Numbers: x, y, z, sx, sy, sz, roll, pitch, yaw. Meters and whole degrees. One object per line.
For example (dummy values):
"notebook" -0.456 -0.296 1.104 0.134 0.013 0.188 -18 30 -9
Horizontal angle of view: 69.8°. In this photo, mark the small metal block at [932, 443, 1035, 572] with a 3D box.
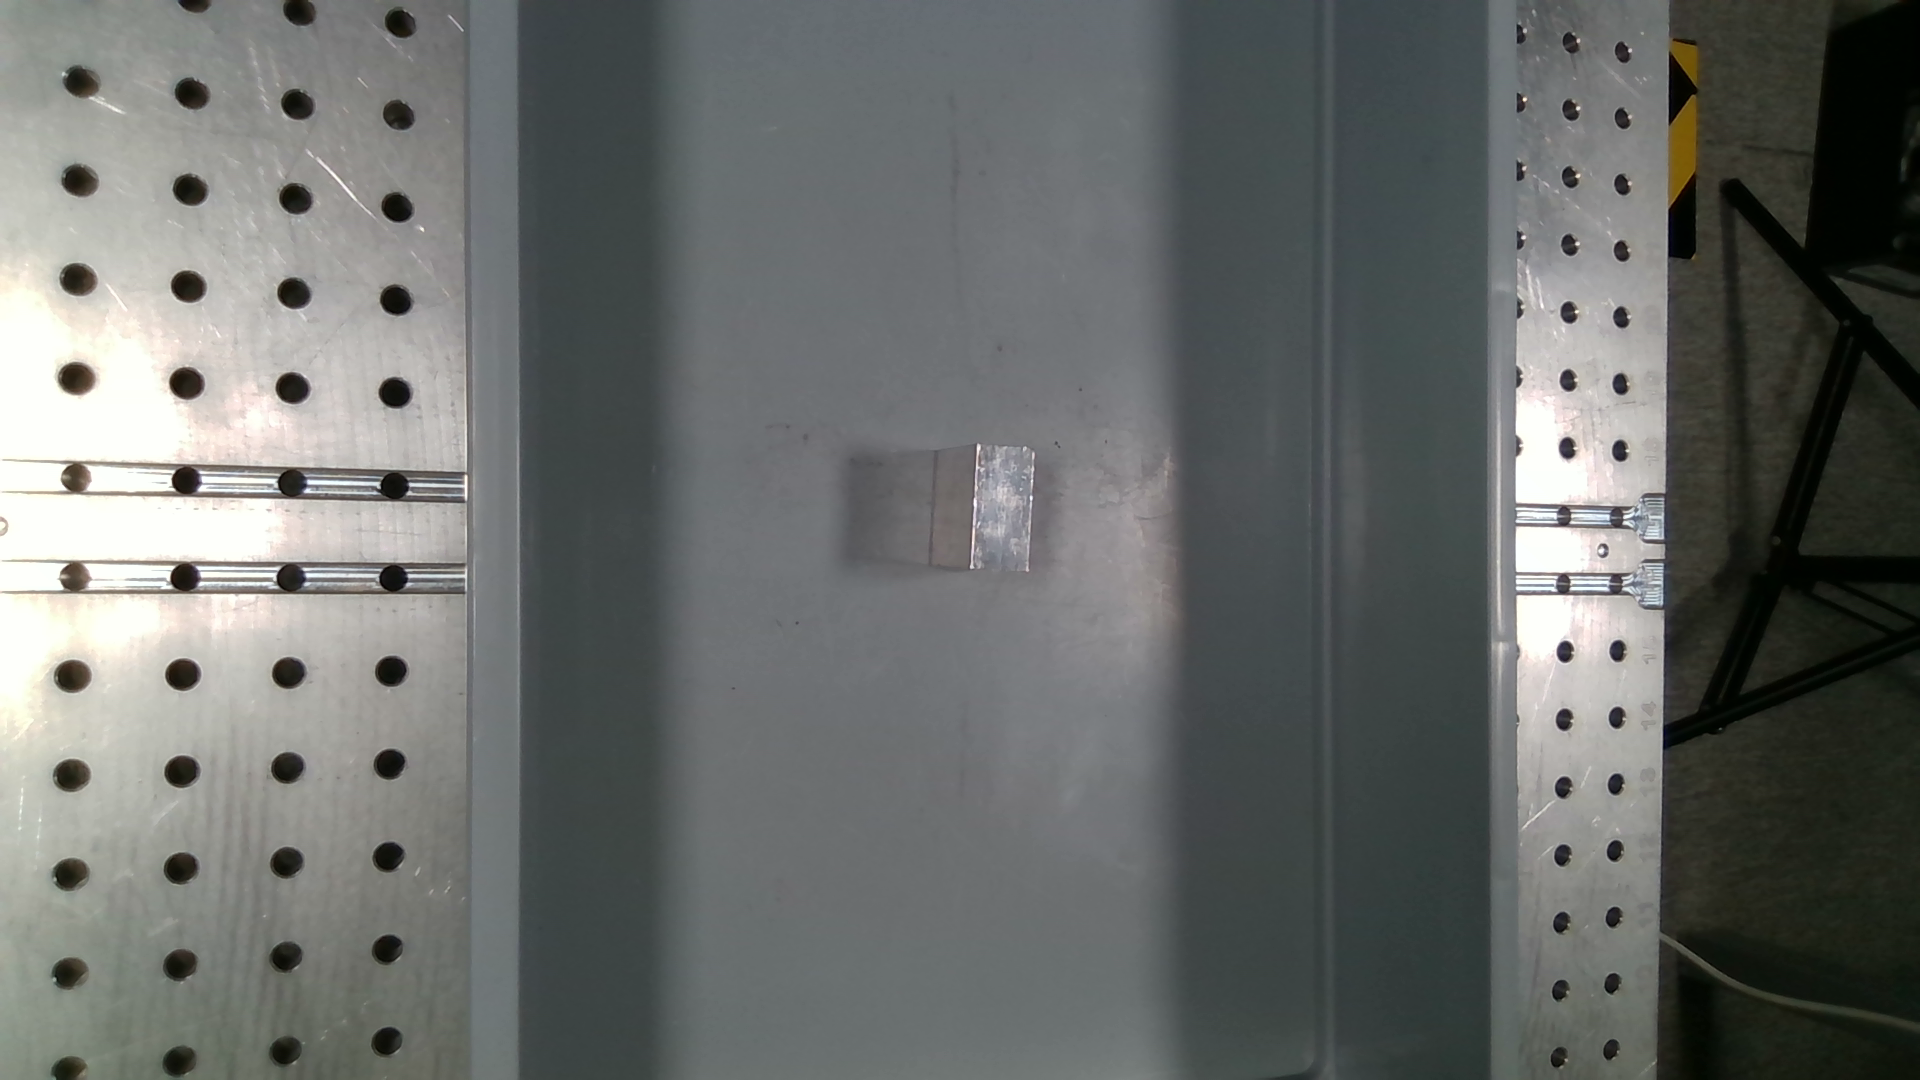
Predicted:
"small metal block" 0.008 -0.013 0.572 0.025 0.050 0.050 3 89 -21
